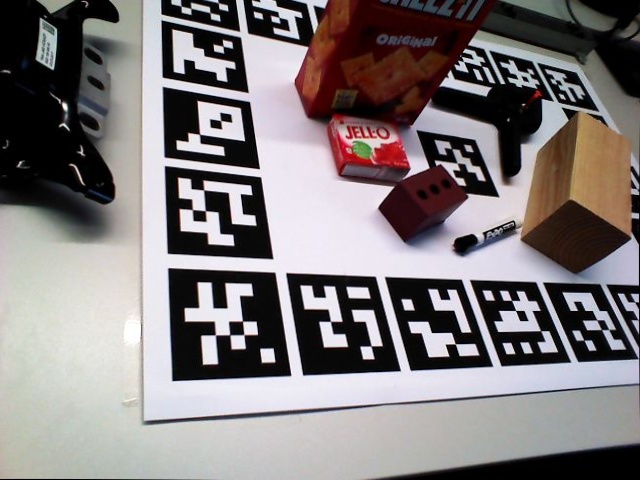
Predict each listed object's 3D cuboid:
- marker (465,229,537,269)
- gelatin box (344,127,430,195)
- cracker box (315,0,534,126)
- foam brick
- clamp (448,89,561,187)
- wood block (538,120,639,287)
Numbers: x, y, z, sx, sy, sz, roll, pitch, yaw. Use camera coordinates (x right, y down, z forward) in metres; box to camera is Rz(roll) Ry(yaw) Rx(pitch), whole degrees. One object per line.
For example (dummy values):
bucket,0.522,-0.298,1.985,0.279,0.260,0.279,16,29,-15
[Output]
marker,0.216,0.010,0.616,0.120,0.020,0.019,-18,71,-32
gelatin box,0.079,-0.094,0.615,0.089,0.030,0.073,2,62,-24
cracker box,0.113,-0.229,0.588,0.163,0.215,0.072,0,60,-27
foam brick,0.134,-0.028,0.583,0.077,0.052,0.052,-23,74,-34
clamp,0.297,-0.175,0.758,0.201,0.037,0.165,-30,77,-35
wood block,0.365,-0.054,0.686,0.090,0.091,0.204,31,50,-2
